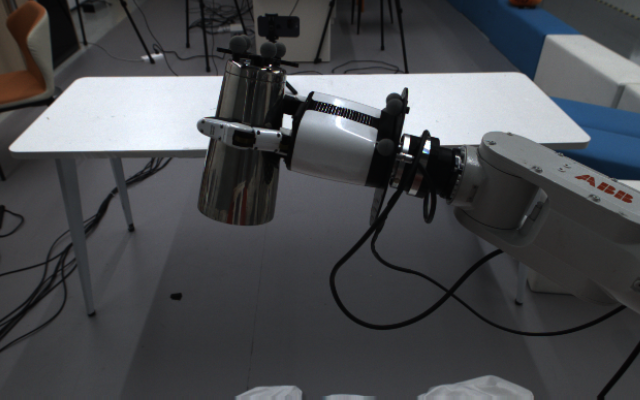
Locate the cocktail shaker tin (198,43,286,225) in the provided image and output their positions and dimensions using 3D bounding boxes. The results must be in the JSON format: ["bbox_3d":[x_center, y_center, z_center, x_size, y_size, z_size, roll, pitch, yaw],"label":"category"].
[{"bbox_3d":[-0.083,-0.066,0.552,0.093,0.170,0.093,11,19,-4],"label":"cocktail shaker tin"}]
